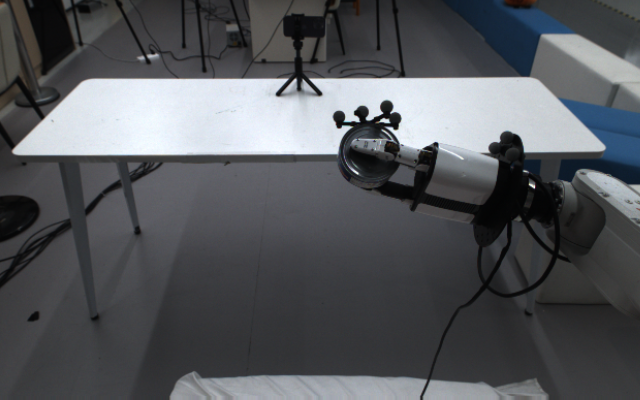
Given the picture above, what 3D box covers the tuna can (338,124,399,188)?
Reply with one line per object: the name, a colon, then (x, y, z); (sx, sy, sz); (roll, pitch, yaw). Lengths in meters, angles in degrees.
tuna can: (0.067, -0.062, 0.665); (0.085, 0.034, 0.085); (1, 70, -4)
